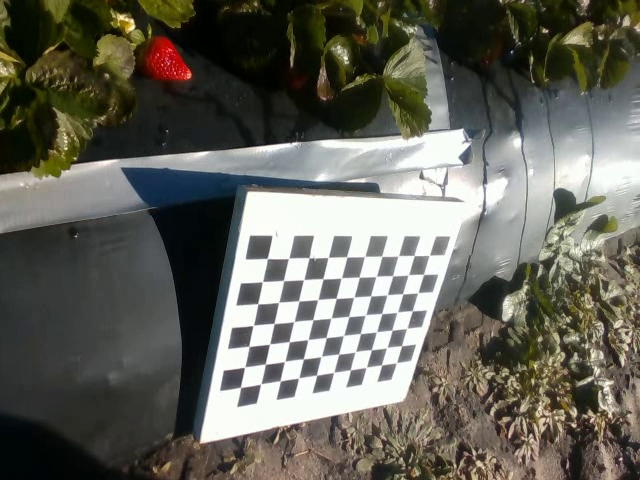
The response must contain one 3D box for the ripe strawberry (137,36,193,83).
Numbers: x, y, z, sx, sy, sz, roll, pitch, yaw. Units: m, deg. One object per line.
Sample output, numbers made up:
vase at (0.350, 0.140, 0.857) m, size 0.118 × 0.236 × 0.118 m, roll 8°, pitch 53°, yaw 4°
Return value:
ripe strawberry at (-0.140, -0.161, 0.568) m, size 0.058 × 0.046 × 0.042 m, roll 34°, pitch 0°, yaw -23°
